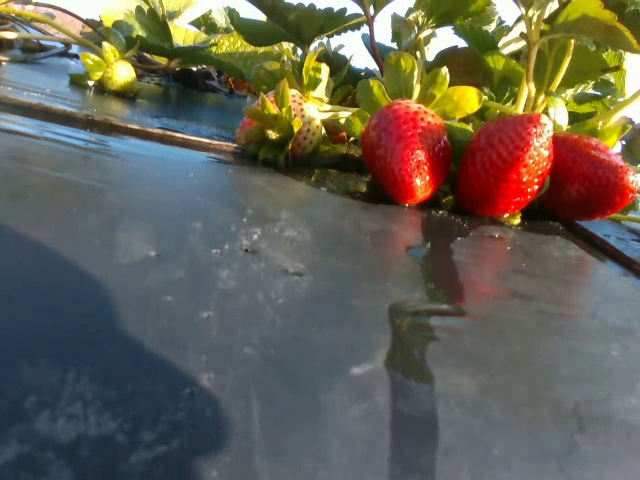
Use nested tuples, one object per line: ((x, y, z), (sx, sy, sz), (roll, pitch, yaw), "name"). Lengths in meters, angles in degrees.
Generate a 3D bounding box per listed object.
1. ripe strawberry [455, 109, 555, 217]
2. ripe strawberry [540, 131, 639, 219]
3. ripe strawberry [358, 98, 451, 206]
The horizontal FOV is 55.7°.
((0.056, -0.026, 0.175), (0.030, 0.037, 0.039), (19, -13, 1), "ripe strawberry")
((0.083, -0.018, 0.181), (0.035, 0.034, 0.041), (8, 1, -8), "ripe strawberry")
((0.027, -0.027, 0.177), (0.031, 0.023, 0.046), (11, 37, -5), "ripe strawberry")
